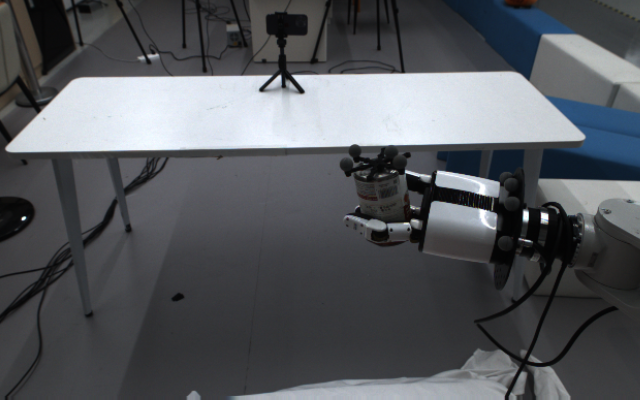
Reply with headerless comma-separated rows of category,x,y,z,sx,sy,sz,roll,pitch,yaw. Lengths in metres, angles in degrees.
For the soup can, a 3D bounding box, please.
soup can,0.087,0.001,0.642,0.067,0.101,0.067,-11,27,6
